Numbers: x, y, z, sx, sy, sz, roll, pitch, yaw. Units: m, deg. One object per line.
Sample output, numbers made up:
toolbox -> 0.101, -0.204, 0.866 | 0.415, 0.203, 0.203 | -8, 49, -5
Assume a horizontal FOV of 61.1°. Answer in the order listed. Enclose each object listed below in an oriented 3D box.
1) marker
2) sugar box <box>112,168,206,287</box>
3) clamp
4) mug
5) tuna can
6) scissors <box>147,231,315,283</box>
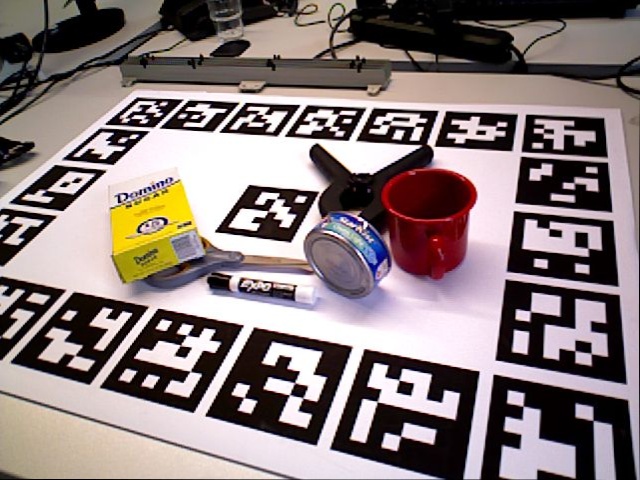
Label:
marker -> -0.069, 0.051, 0.562 | 0.121, 0.020, 0.019 | 4, 44, 17
sugar box -> -0.195, -0.022, 0.642 | 0.092, 0.046, 0.175 | -18, 36, -9
clamp -> 0.053, -0.055, 0.658 | 0.165, 0.037, 0.198 | 0, 43, 11
mug -> 0.107, -0.007, 0.548 | 0.093, 0.083, 0.115 | -11, 38, -2
tuna can -> 0.034, 0.016, 0.529 | 0.086, 0.087, 0.033 | 21, 49, 30
scissors -> -0.100, 0.017, 0.603 | 0.203, 0.016, 0.086 | 1, 39, 10
